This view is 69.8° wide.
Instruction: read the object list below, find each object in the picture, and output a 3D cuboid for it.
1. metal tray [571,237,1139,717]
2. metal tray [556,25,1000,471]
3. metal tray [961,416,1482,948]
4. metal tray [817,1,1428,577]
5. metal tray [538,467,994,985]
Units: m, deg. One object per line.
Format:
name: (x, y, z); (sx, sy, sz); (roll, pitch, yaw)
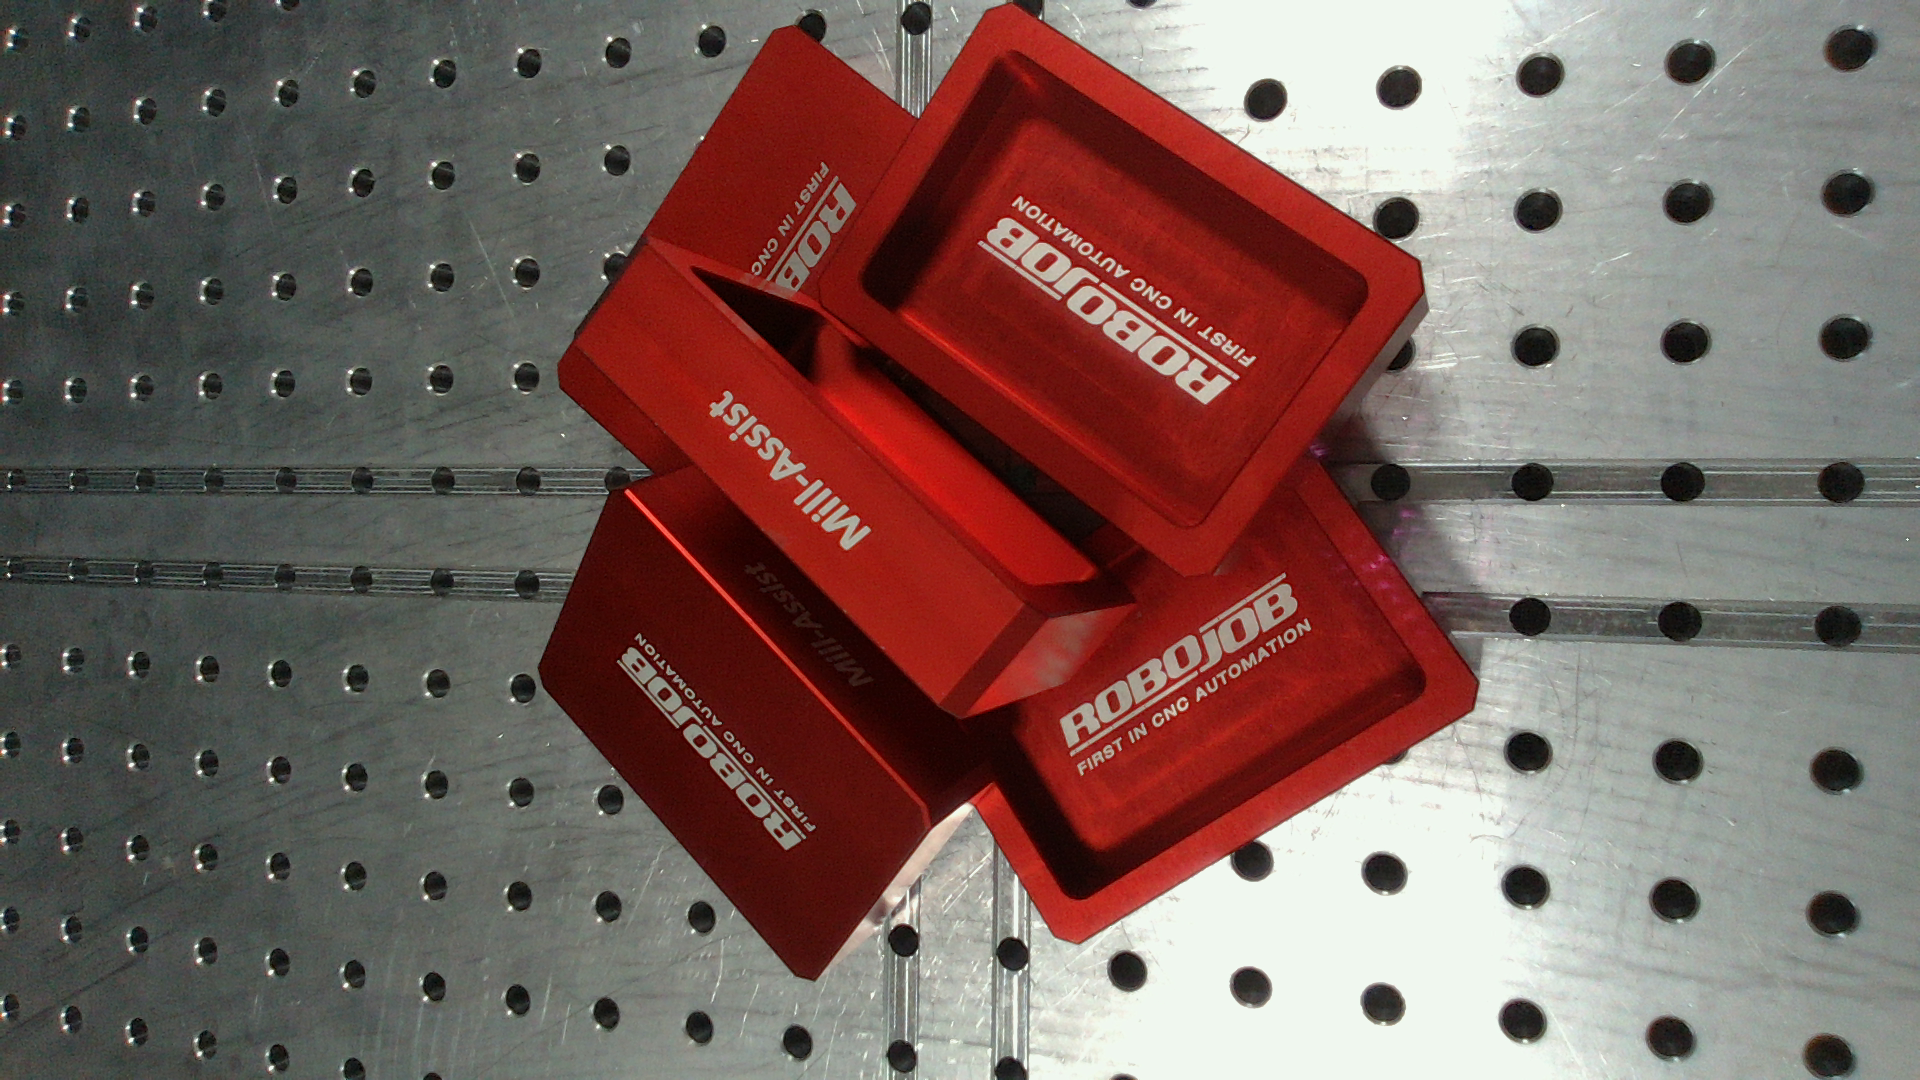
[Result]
metal tray: (-0.022, -0.016, 0.339); (0.130, 0.090, 0.030); (43, 104, 15)
metal tray: (-0.052, -0.073, 0.413); (0.090, 0.030, 0.130); (40, 103, 15)
metal tray: (0.060, 0.038, 0.373); (0.130, 0.030, 0.090); (-35, 79, 16)
metal tray: (0.039, -0.063, 0.349); (0.130, 0.030, 0.090); (38, 102, 16)
metal tray: (-0.061, 0.053, 0.398); (0.130, 0.030, 0.090); (44, 129, 15)
